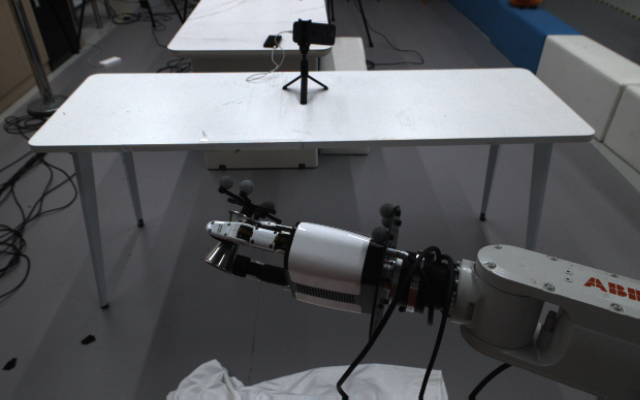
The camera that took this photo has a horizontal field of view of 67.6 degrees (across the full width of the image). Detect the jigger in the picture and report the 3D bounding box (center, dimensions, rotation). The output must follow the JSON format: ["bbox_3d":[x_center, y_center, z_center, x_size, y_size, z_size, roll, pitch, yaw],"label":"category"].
[{"bbox_3d":[-0.109,0.049,0.582,0.043,0.043,0.071,20,74,24],"label":"jigger"}]
